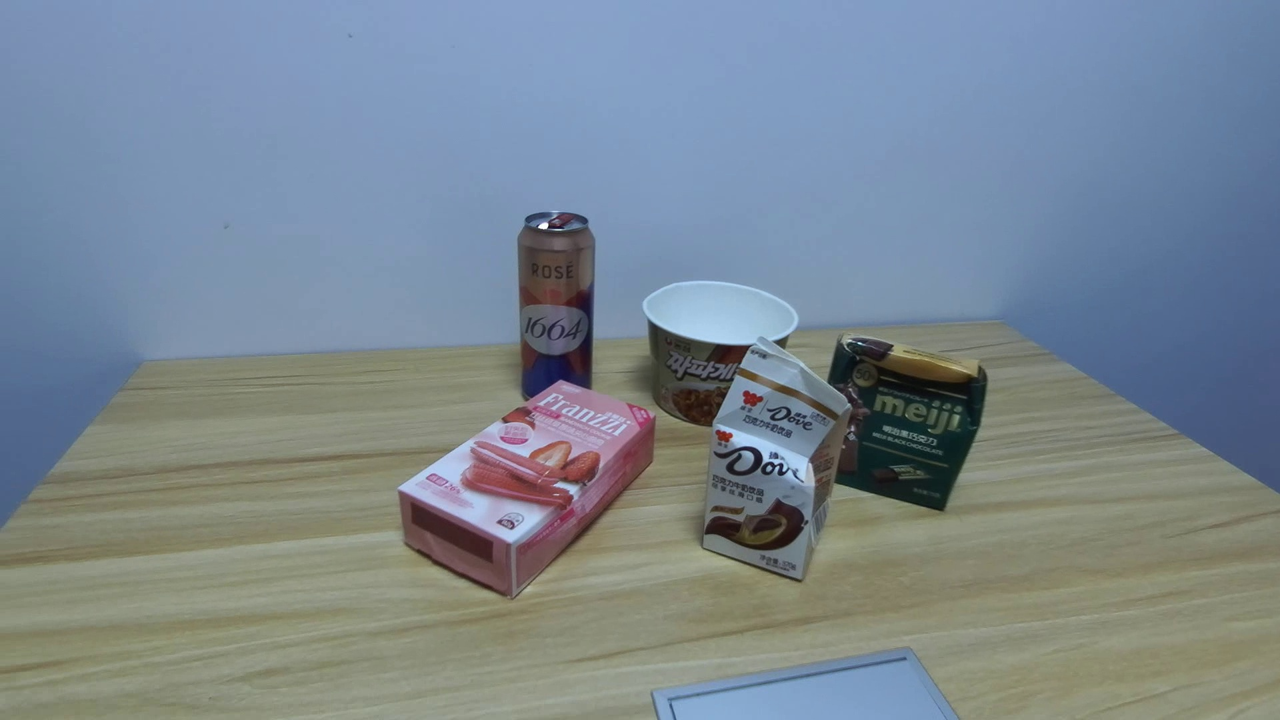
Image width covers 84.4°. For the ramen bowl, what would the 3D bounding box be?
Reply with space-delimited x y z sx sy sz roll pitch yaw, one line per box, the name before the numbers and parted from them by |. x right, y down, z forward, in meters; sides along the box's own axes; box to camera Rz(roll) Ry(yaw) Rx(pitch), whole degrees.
ramen bowl | 0.072 -0.006 0.660 0.140 0.095 0.140 2 28 -1

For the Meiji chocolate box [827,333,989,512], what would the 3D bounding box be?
Meiji chocolate box | 0.202 0.046 0.559 0.117 0.117 0.052 14 22 17

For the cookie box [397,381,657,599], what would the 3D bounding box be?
cookie box | -0.071 0.085 0.520 0.105 0.049 0.188 17 31 26

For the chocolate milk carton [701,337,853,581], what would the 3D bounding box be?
chocolate milk carton | 0.092 0.058 0.467 0.076 0.155 0.074 15 32 20

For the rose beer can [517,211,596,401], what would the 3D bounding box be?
rose beer can | -0.074 -0.042 0.635 0.068 0.169 0.068 3 26 -1
